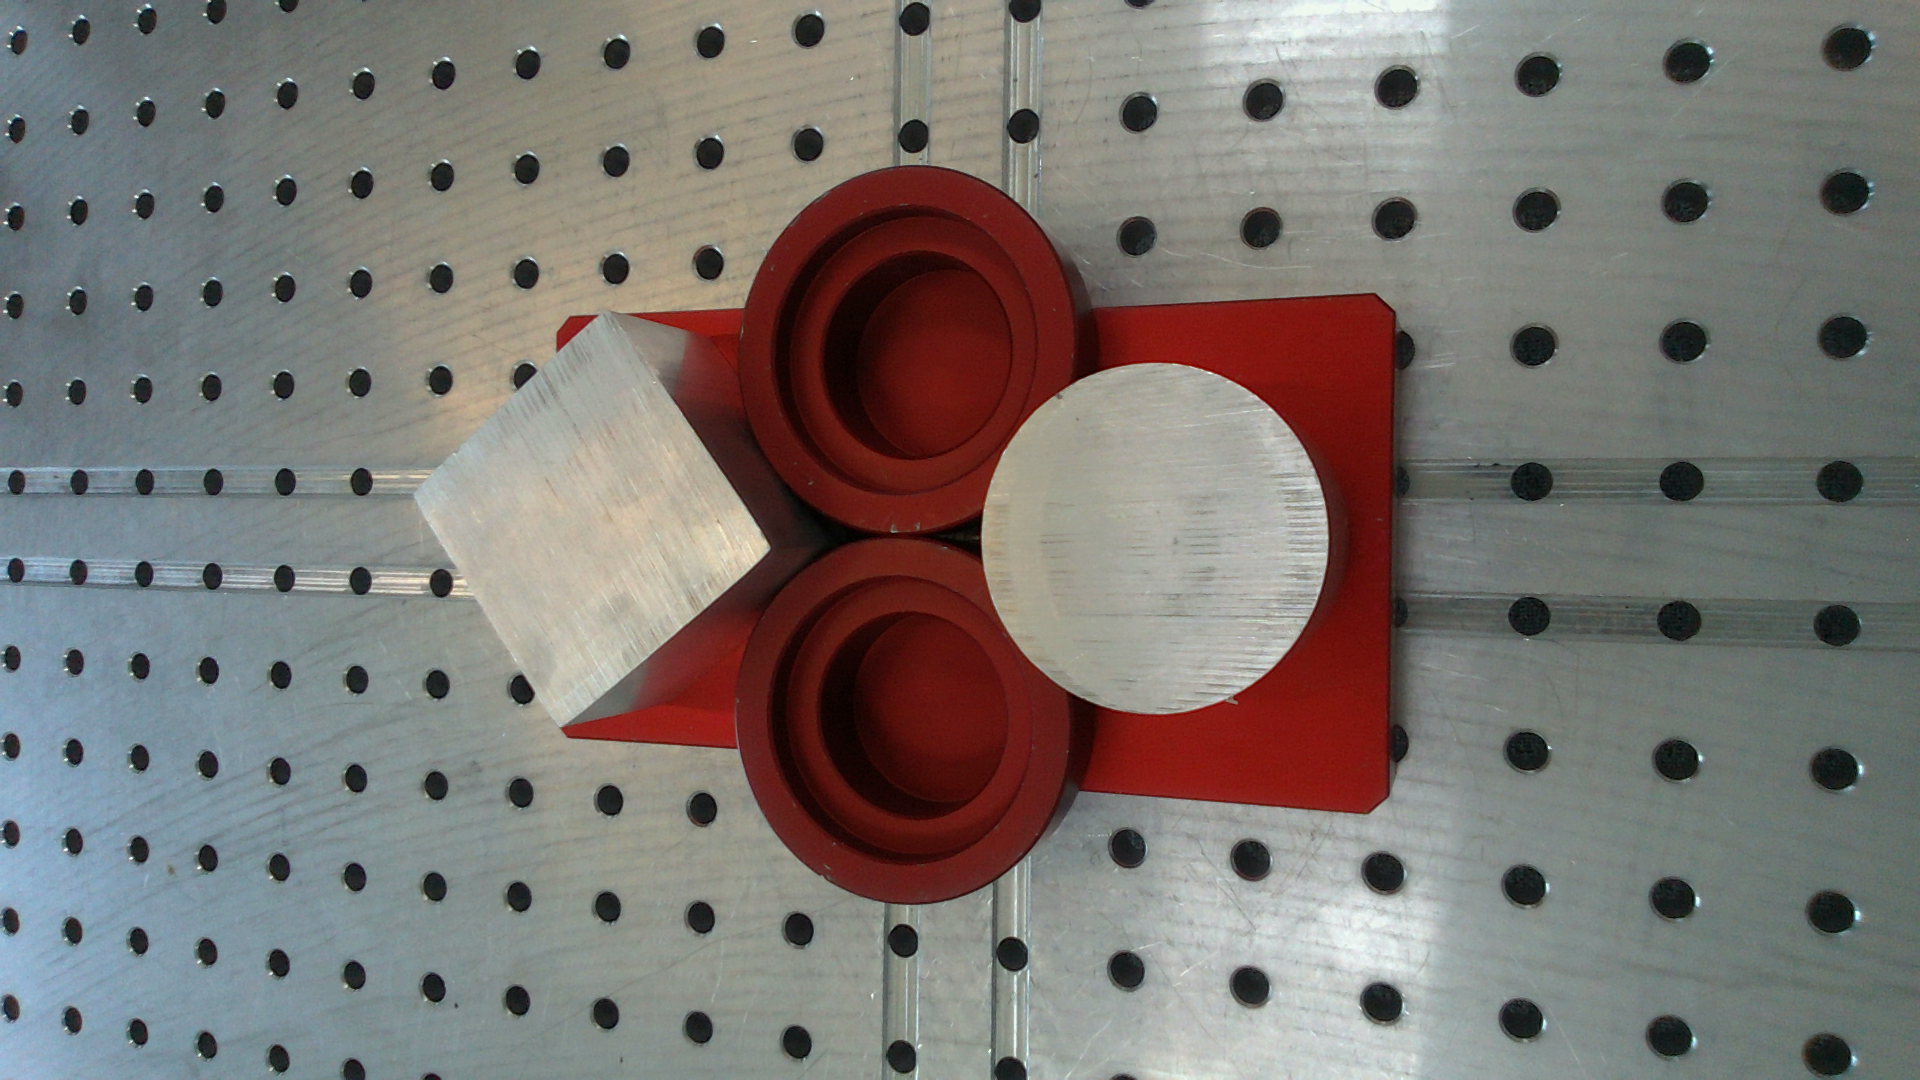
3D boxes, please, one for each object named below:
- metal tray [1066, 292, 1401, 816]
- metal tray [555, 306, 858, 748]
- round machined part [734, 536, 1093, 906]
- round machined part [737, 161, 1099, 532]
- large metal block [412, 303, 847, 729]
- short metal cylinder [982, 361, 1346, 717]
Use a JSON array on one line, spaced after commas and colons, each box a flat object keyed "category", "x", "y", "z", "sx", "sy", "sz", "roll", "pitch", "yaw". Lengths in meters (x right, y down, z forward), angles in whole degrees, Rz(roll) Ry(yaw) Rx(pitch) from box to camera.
[{"category": "metal tray", "x": 0.070, "y": 0.003, "z": 0.368, "sx": 0.090, "sy": 0.030, "sz": 0.130, "roll": 1, "pitch": 90, "yaw": 20}, {"category": "metal tray", "x": -0.078, "y": -0.004, "z": 0.424, "sx": 0.090, "sy": 0.030, "sz": 0.130, "roll": 1, "pitch": 90, "yaw": 19}, {"category": "round machined part", "x": -0.010, "y": 0.048, "z": 0.383, "sx": 0.098, "sy": 0.042, "sz": 0.098, "roll": 0, "pitch": 90, "yaw": 20}, {"category": "round machined part", "x": -0.009, "y": -0.051, "z": 0.383, "sx": 0.098, "sy": 0.042, "sz": 0.098, "roll": 0, "pitch": 90, "yaw": 20}, {"category": "large metal block", "x": -0.091, "y": -0.006, "z": 0.385, "sx": 0.080, "sy": 0.050, "sz": 0.080, "roll": -39, "pitch": 78, "yaw": 16}, {"category": "short metal cylinder", "x": 0.051, "y": 0.000, "z": 0.334, "sx": 0.080, "sy": 0.050, "sz": 0.080, "roll": 0, "pitch": 90, "yaw": 20}]
